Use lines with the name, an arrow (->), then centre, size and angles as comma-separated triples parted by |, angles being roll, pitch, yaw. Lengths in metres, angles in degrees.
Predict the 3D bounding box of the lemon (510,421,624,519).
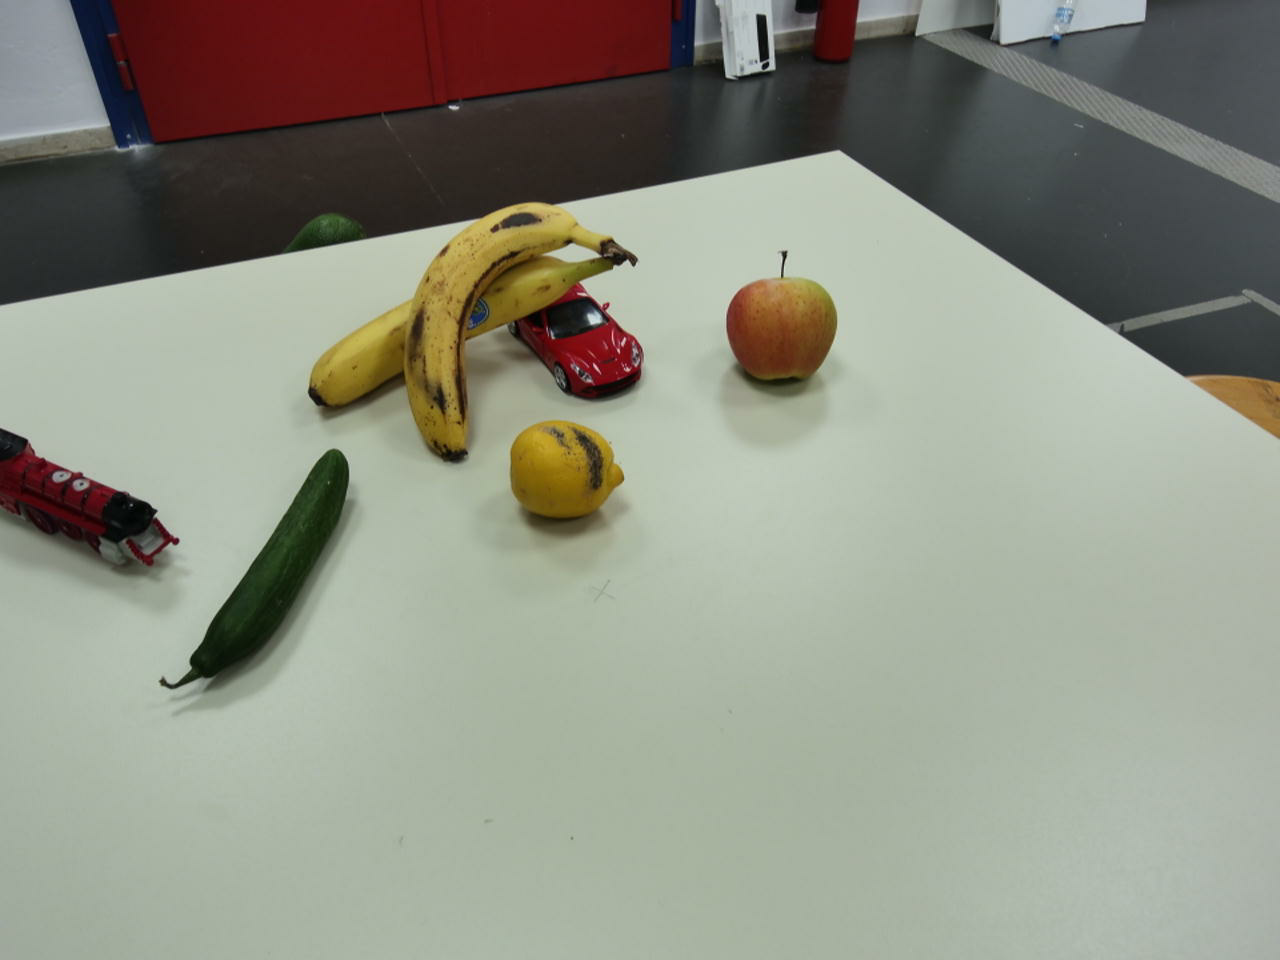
lemon -> -0.045, -0.006, 0.576 | 0.061, 0.056, 0.058 | -22, 44, -25
